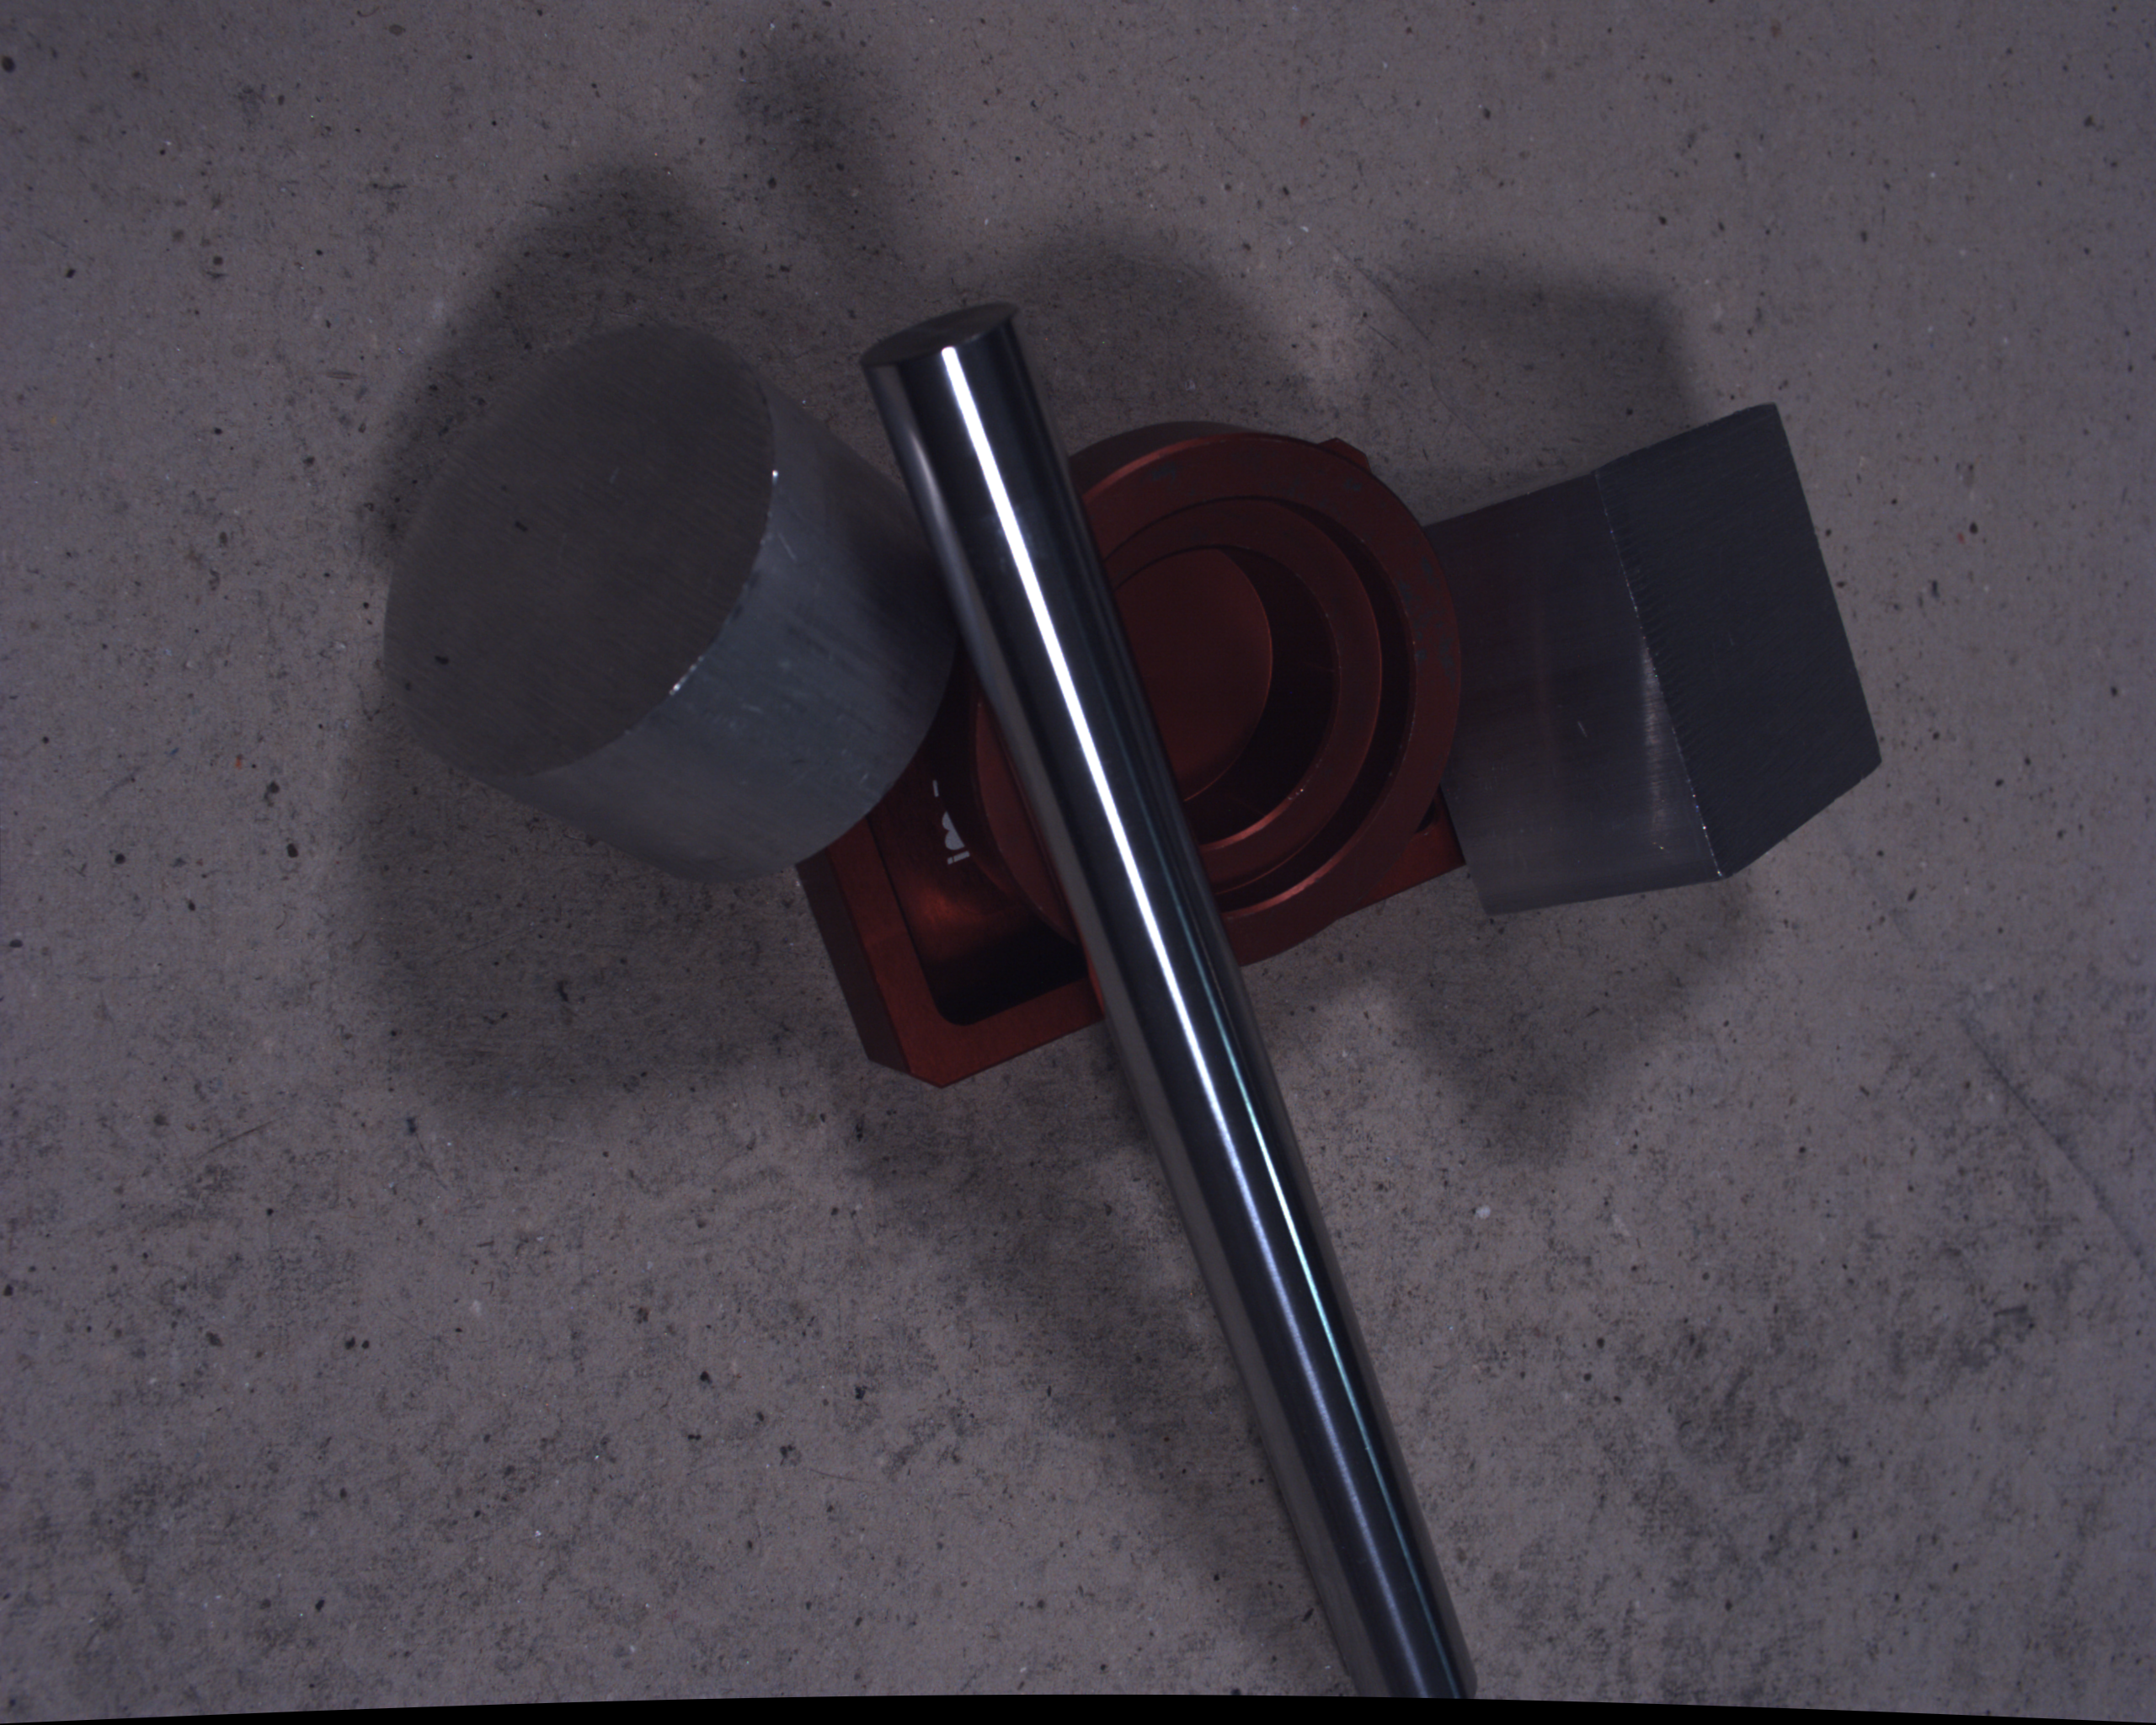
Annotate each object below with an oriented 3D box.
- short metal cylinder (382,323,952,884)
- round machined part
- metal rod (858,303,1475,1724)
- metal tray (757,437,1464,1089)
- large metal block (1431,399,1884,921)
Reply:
[{"bbox_3d":[-0.068,-0.042,0.350,0.050,0.080,0.080,34,76,-54],"label":"short metal cylinder"},{"bbox_3d":[0.018,-0.032,0.383,0.099,0.042,0.097,-7,108,-23],"label":"round machined part"},{"bbox_3d":[0.025,0.048,0.374,0.025,0.025,0.298,-29,117,-18],"label":"metal rod"},{"bbox_3d":[0.008,-0.021,0.411,0.131,0.030,0.090,-22,98,-19],"label":"metal tray"},{"bbox_3d":[0.113,-0.042,0.422,0.081,0.050,0.080,-26,100,-45],"label":"large metal block"}]
